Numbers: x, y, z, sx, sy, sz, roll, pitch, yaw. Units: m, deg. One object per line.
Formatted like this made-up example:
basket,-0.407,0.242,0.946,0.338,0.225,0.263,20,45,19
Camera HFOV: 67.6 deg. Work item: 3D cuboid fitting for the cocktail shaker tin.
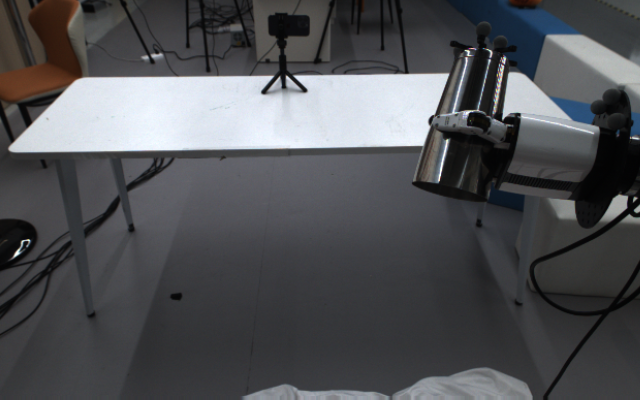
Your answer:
cocktail shaker tin,0.179,-0.092,0.592,0.093,0.170,0.093,16,-4,1
